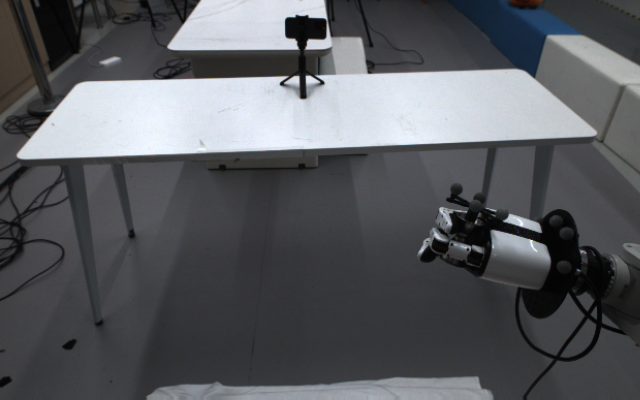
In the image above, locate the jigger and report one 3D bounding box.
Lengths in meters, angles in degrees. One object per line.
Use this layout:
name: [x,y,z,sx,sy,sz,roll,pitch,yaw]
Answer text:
jigger: [0.203,0.056,0.694,0.043,0.071,0.043,18,17,-6]
